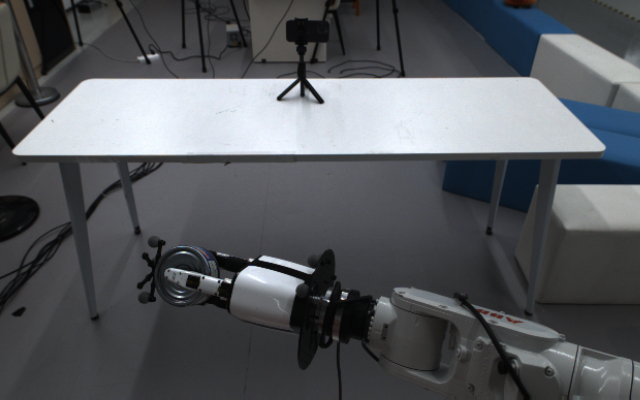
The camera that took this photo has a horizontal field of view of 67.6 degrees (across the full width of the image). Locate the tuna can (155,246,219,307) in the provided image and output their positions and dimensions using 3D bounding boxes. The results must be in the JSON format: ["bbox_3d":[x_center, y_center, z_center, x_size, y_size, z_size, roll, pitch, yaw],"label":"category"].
[{"bbox_3d":[-0.184,0.110,0.675,0.085,0.085,0.034,10,-5,11],"label":"tuna can"}]
